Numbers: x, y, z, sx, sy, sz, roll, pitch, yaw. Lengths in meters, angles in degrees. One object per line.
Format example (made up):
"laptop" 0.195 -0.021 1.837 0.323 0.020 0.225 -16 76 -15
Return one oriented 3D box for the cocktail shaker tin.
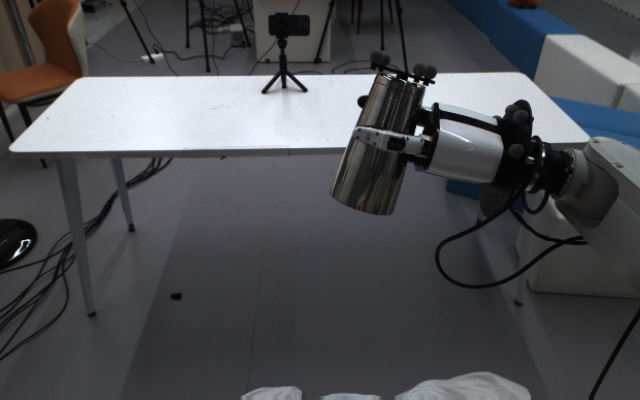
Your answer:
"cocktail shaker tin" 0.081 -0.077 0.643 0.093 0.170 0.093 15 17 -5
